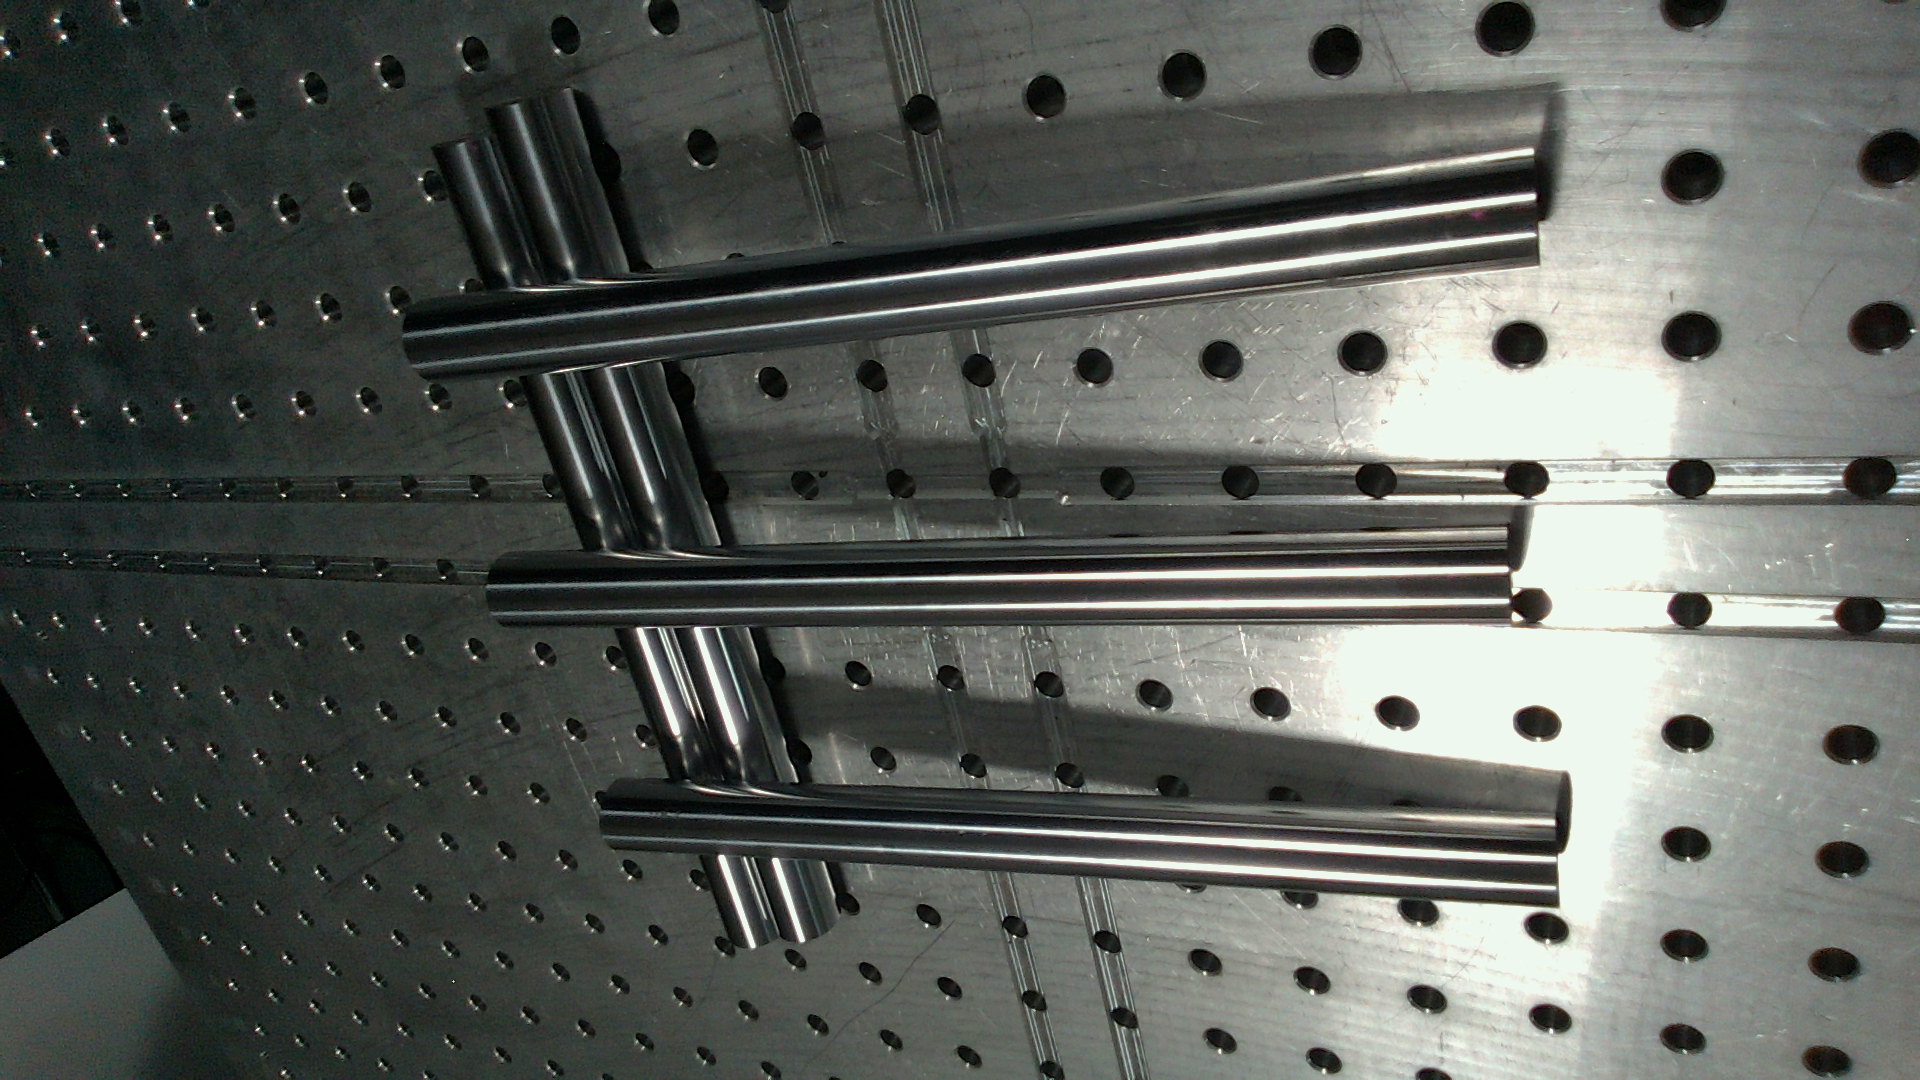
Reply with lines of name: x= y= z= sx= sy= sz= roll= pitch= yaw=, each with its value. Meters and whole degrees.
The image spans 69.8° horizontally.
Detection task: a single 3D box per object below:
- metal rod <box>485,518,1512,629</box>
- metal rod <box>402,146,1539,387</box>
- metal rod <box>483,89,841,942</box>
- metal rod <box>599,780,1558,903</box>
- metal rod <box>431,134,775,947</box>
metal rod: x=-0.006 y=0.012 z=0.387 sx=0.299 sy=0.025 sz=0.025 roll=-2 pitch=118 yaw=22
metal rod: x=-0.017 y=-0.064 z=0.347 sx=0.299 sy=0.025 sz=0.025 roll=-3 pitch=117 yaw=23
metal rod: x=-0.089 y=0.009 z=0.448 sx=0.025 sy=0.025 sz=0.300 roll=1 pitch=119 yaw=28
metal rod: x=0.020 y=0.090 z=0.422 sx=0.299 sy=0.025 sz=0.025 roll=-3 pitch=117 yaw=23
metal rod: x=-0.109 y=0.015 z=0.463 sx=0.025 sy=0.025 sz=0.300 roll=1 pitch=119 yaw=28
